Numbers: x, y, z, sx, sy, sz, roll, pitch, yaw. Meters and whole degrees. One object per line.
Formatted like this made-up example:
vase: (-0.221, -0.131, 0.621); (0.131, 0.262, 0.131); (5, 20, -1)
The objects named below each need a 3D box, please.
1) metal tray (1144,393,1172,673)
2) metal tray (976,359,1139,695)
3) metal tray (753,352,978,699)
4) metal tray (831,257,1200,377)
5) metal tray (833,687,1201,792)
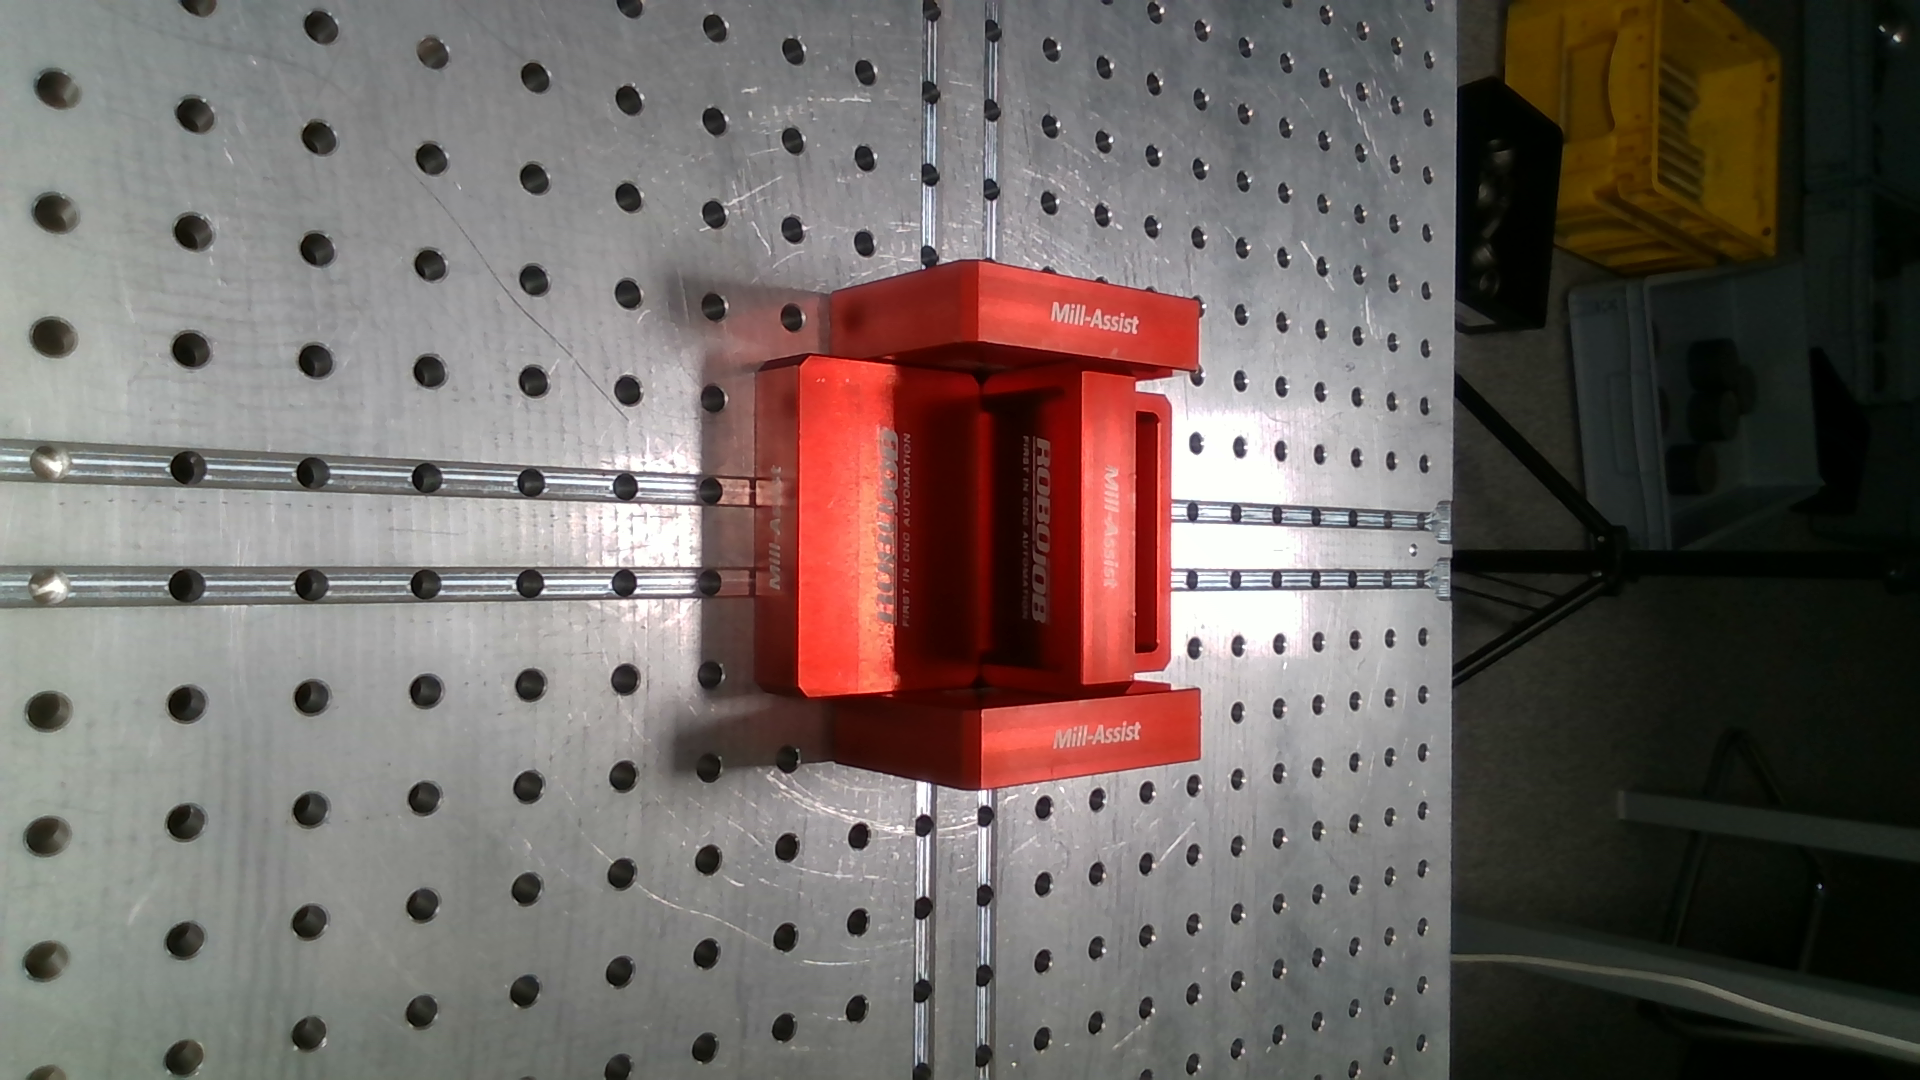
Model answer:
metal tray: (0.056, -0.003, 0.630); (0.090, 0.030, 0.130); (1, 90, -40)
metal tray: (0.030, -0.005, 0.567); (0.030, 0.090, 0.130); (1, 90, -40)
metal tray: (-0.036, -0.005, 0.550); (0.090, 0.030, 0.130); (1, 90, -40)
metal tray: (0.024, -0.085, 0.563); (0.130, 0.090, 0.030); (1, 89, -40)
metal tray: (0.025, 0.076, 0.564); (0.130, 0.090, 0.030); (1, 89, -40)
